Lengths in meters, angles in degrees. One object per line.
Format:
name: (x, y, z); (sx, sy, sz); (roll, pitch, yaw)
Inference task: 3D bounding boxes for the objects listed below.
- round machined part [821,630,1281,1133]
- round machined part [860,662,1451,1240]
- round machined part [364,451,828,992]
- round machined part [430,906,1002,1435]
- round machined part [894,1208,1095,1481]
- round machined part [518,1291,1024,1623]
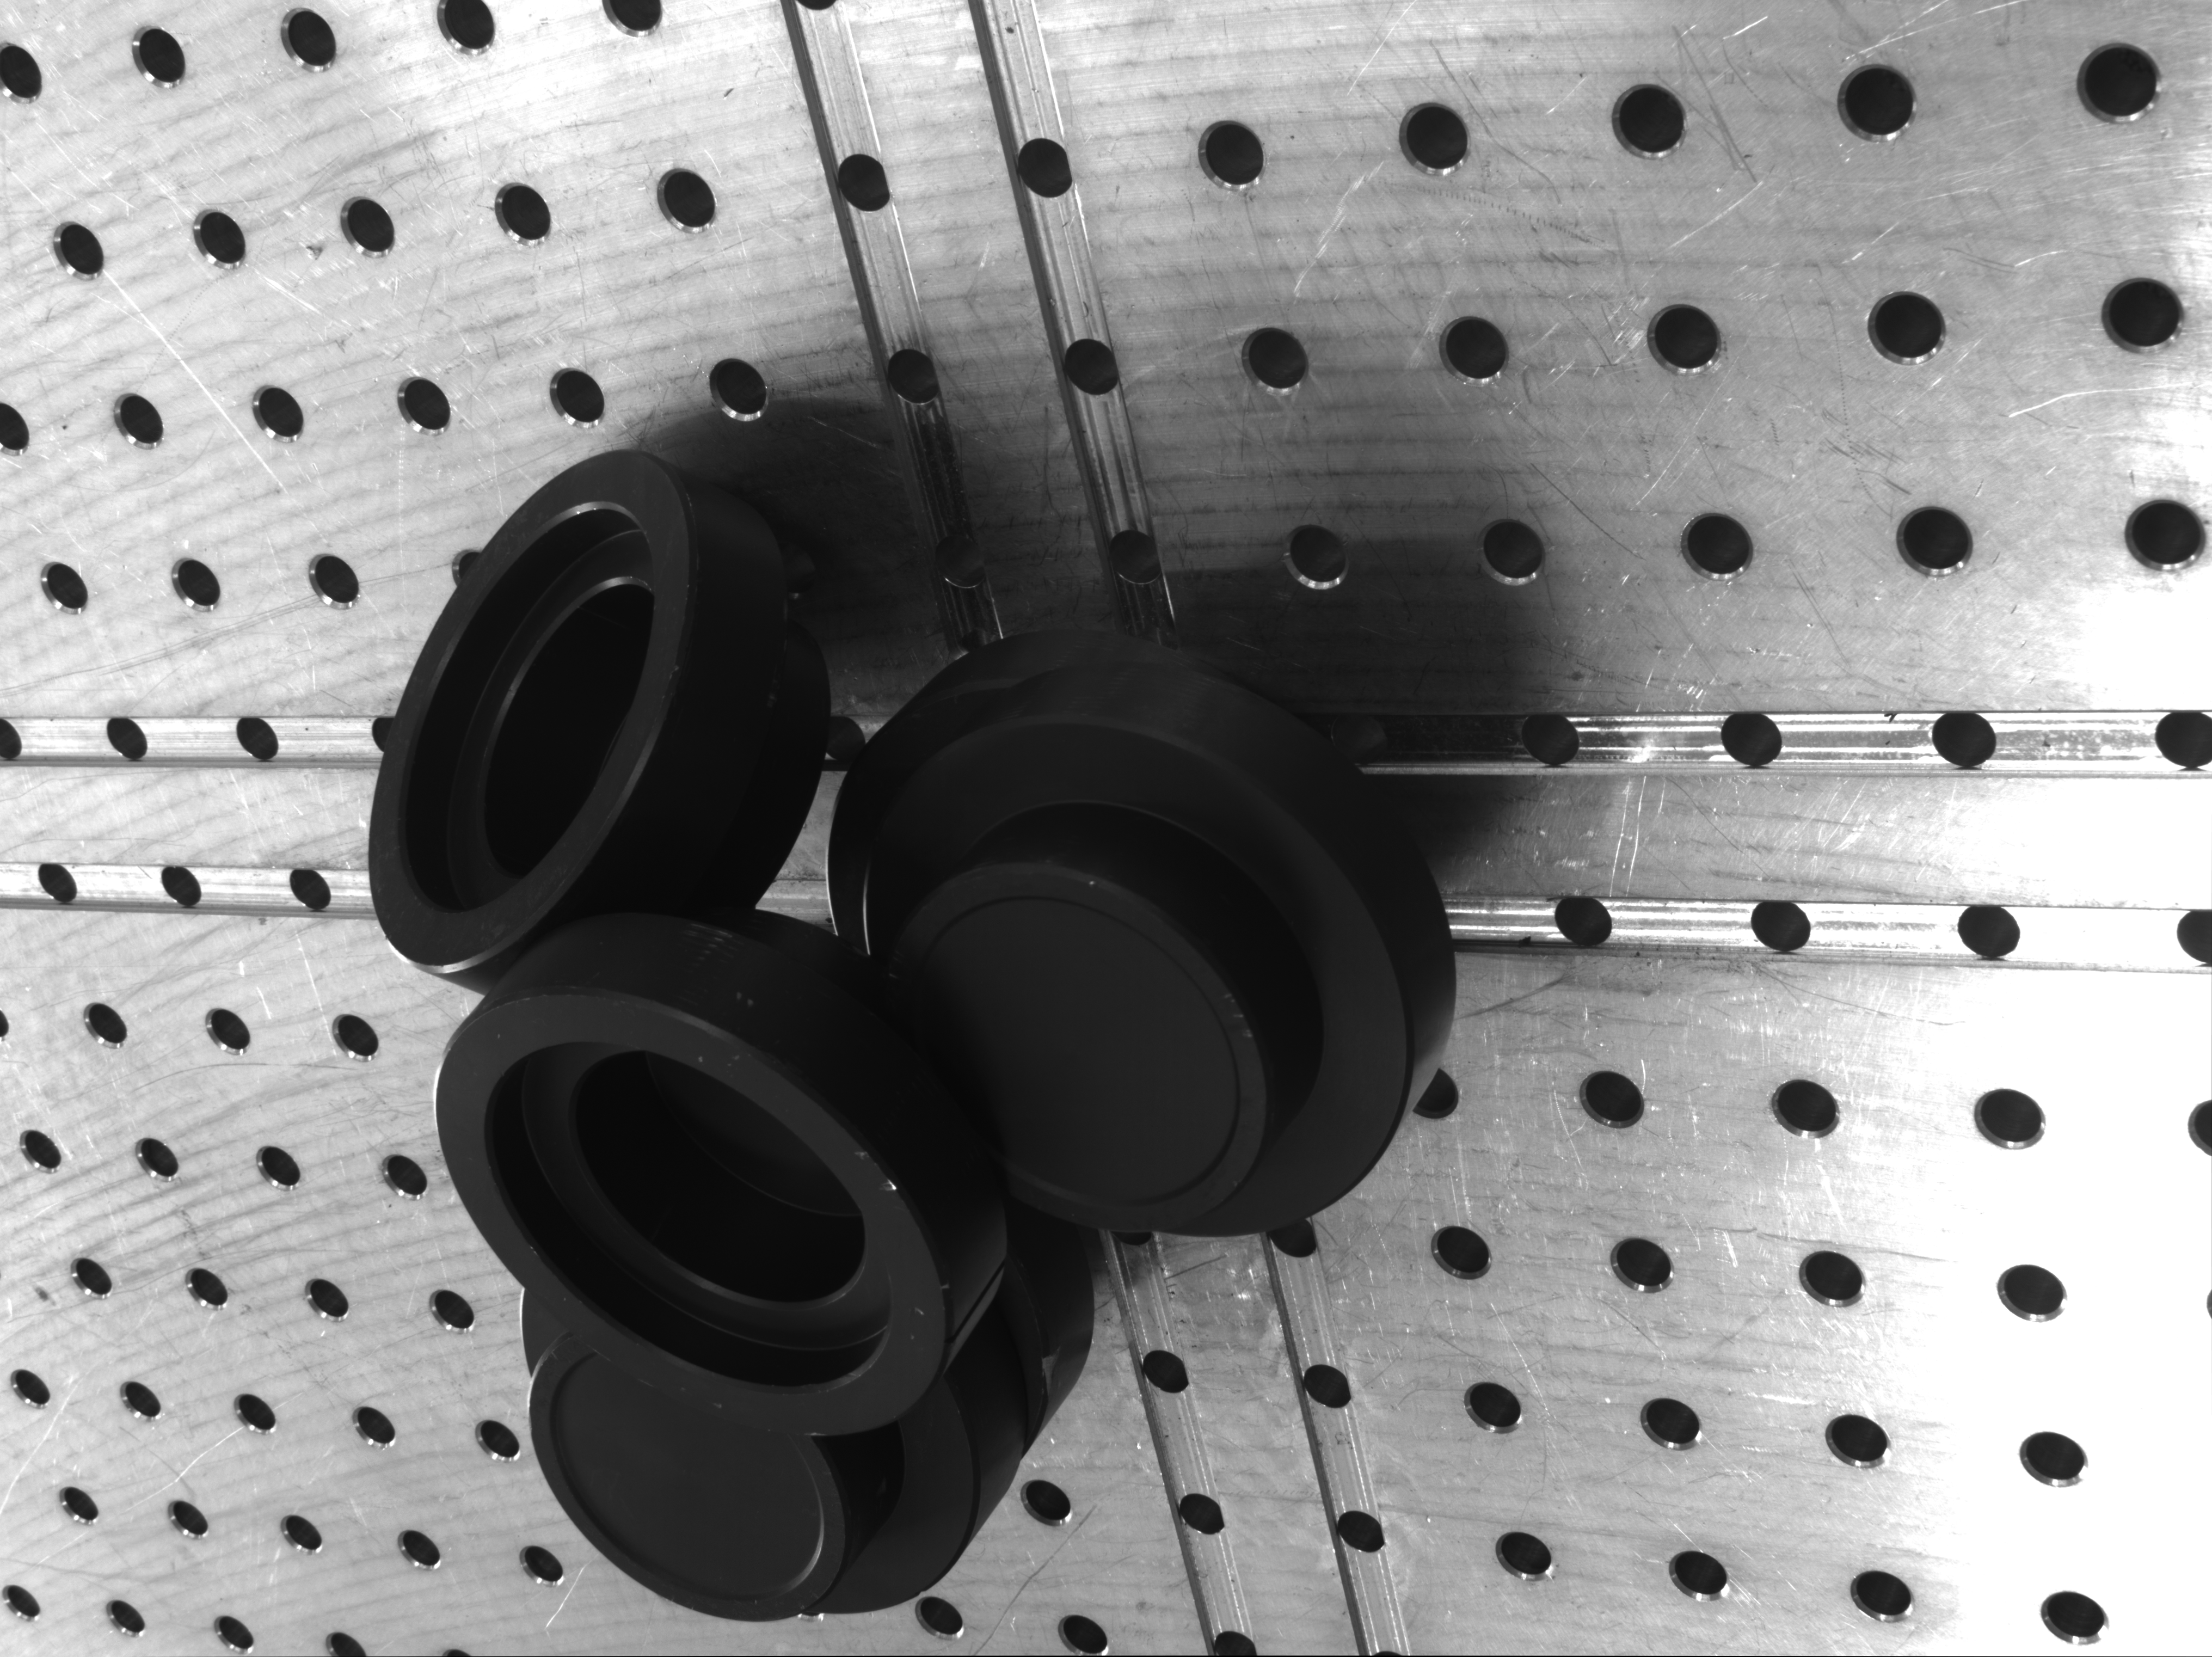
round machined part: (-0.006, 0.019, 0.623); (0.098, 0.042, 0.098); (13, 124, 21)
round machined part: (0.003, 0.026, 0.594); (0.098, 0.042, 0.098); (13, 123, 21)
round machined part: (-0.086, -0.014, 0.649); (0.042, 0.098, 0.098); (26, 138, -34)
round machined part: (-0.061, 0.052, 0.617); (0.098, 0.042, 0.098); (17, 134, 19)
round machined part: (-0.055, 0.089, 0.692); (0.098, 0.042, 0.098); (13, 124, 21)
round machined part: (-0.068, 0.108, 0.683); (0.098, 0.042, 0.098); (13, 124, 21)
